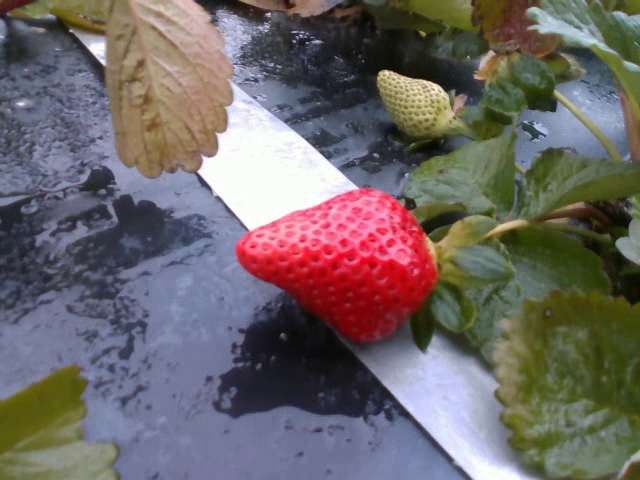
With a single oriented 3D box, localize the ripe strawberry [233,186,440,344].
[{"bbox_3d":[0.002,0.004,0.137,0.051,0.042,0.037,4,-23,-35],"label":"ripe strawberry"}]
